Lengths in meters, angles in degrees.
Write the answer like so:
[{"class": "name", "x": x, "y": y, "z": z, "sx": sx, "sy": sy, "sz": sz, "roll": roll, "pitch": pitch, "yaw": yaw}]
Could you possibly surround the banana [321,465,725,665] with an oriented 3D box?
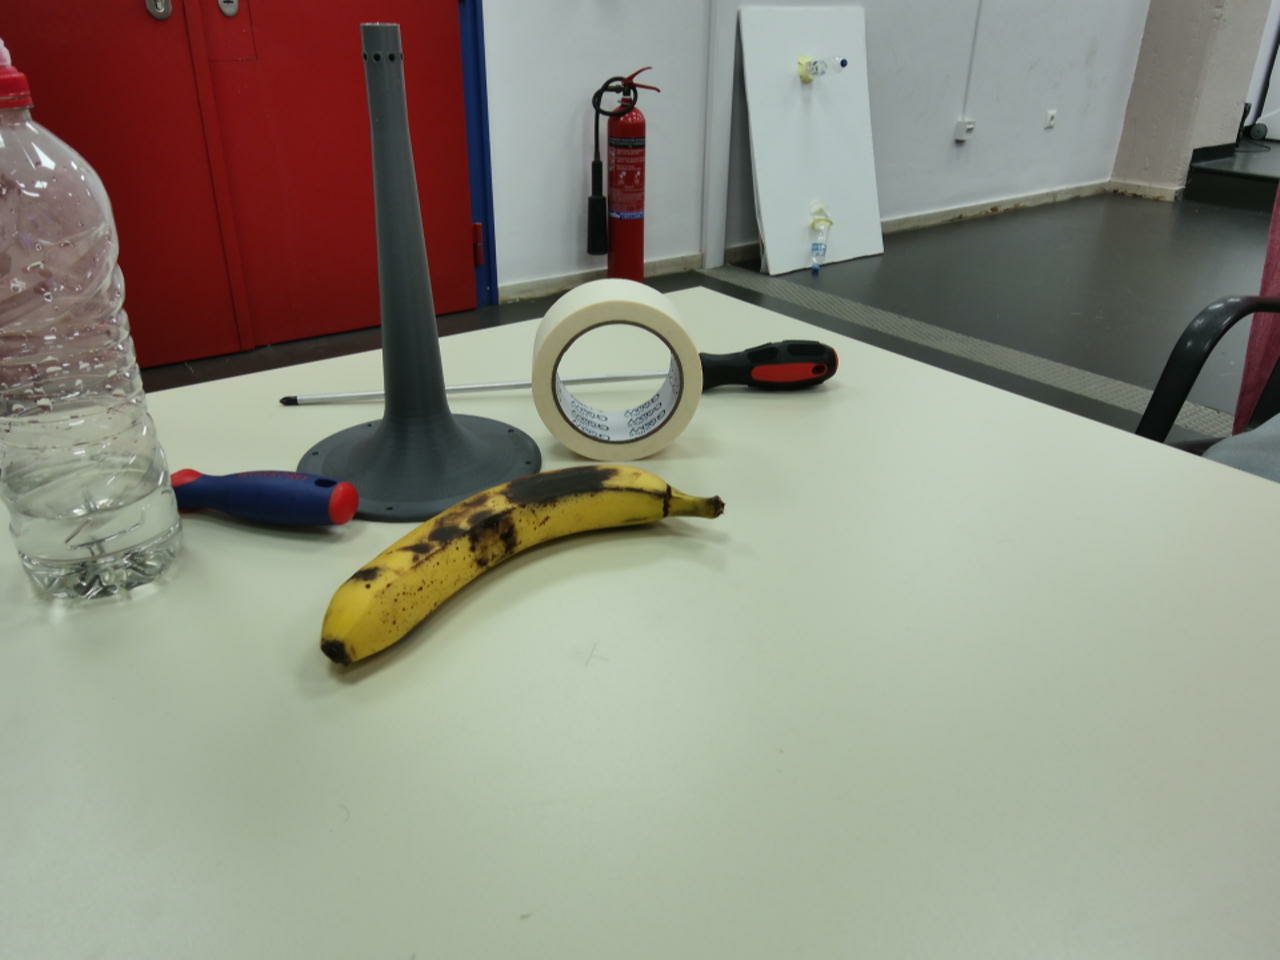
[{"class": "banana", "x": -0.065, "y": 0.030, "z": 0.503, "sx": 0.222, "sy": 0.037, "sz": 0.084, "roll": -17, "pitch": 30, "yaw": -34}]
